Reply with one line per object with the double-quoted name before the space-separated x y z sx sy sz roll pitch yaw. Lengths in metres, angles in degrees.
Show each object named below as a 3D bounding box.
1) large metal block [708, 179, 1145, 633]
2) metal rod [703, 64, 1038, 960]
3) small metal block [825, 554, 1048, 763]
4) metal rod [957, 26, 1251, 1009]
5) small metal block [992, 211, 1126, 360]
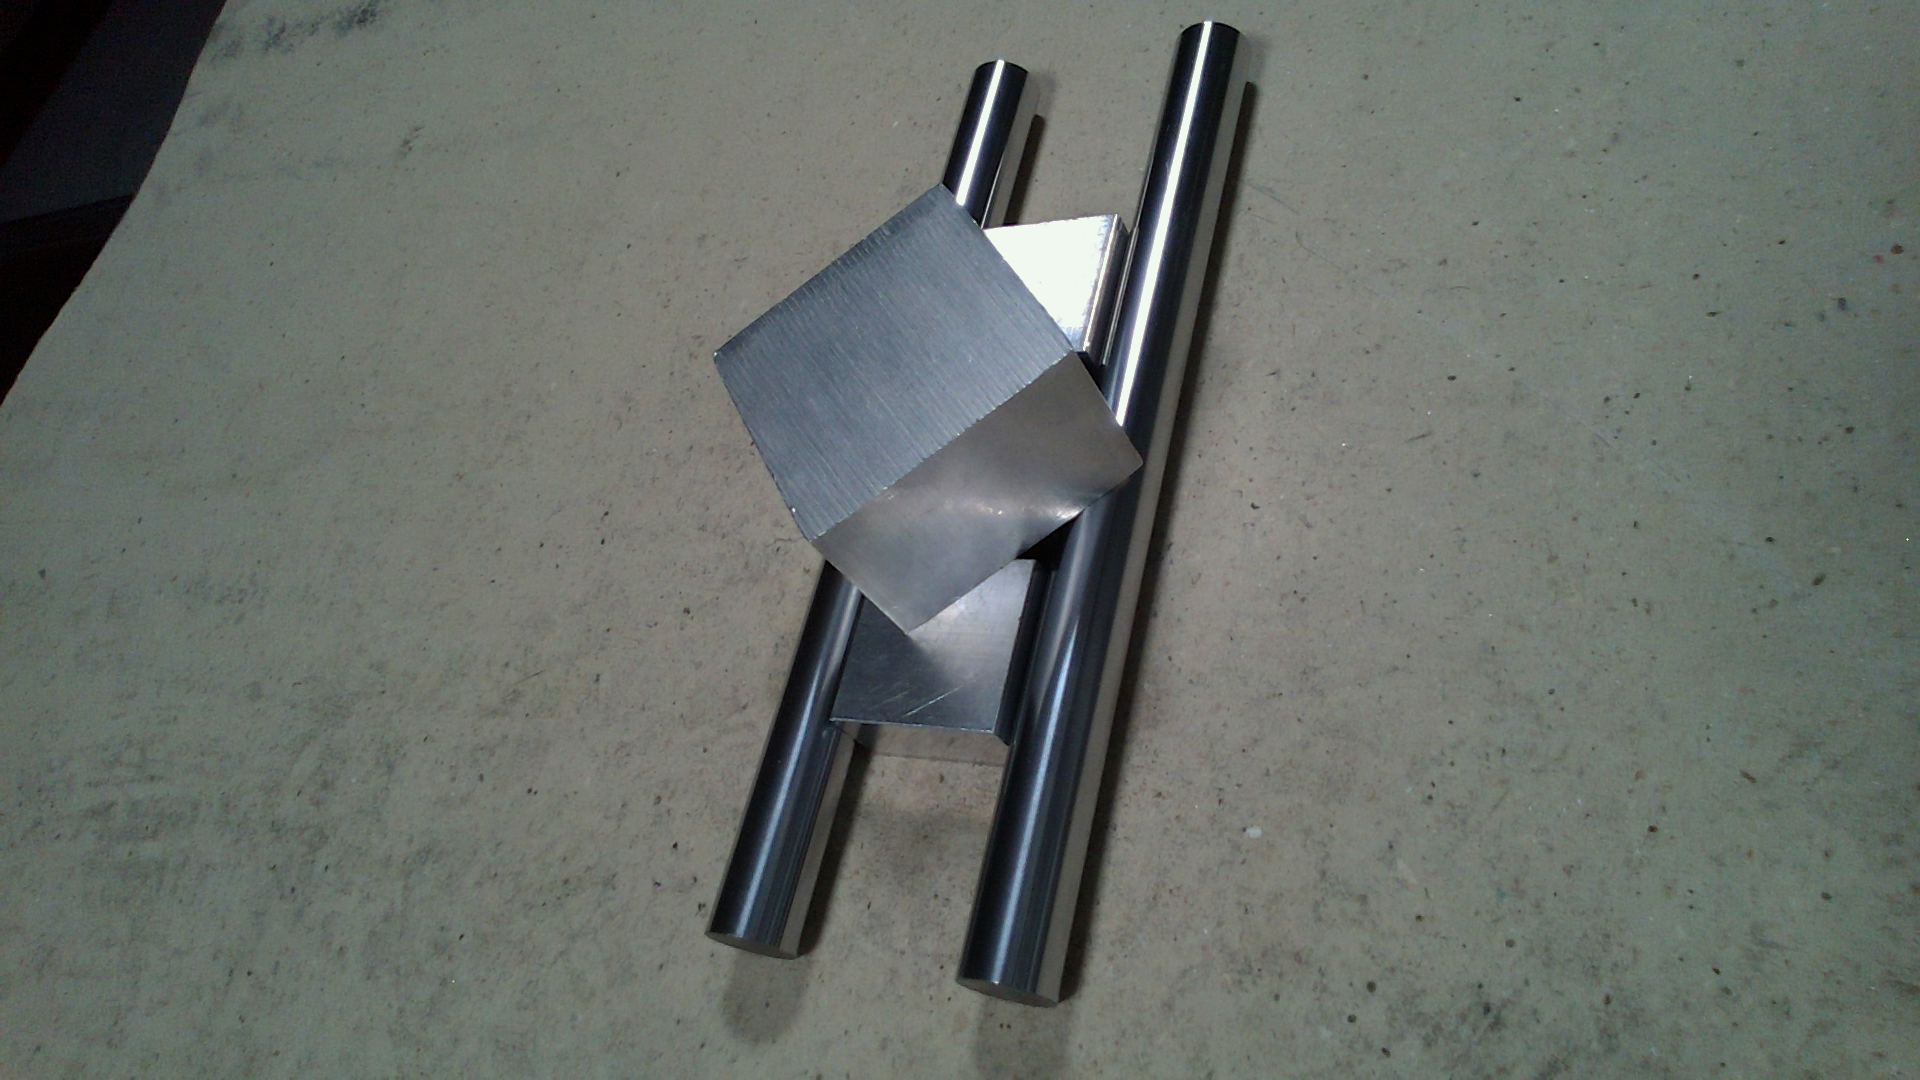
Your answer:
"large metal block" -0.010 -0.037 0.371 0.080 0.050 0.080 -35 51 5
"metal rod" -0.020 -0.026 0.421 0.025 0.025 0.300 0 62 29
"small metal block" -0.003 0.031 0.375 0.050 0.025 0.050 1 62 29
"metal rod" 0.047 -0.025 0.385 0.025 0.025 0.300 0 62 29
"small metal block" 0.025 -0.071 0.423 0.050 0.025 0.050 1 62 29
